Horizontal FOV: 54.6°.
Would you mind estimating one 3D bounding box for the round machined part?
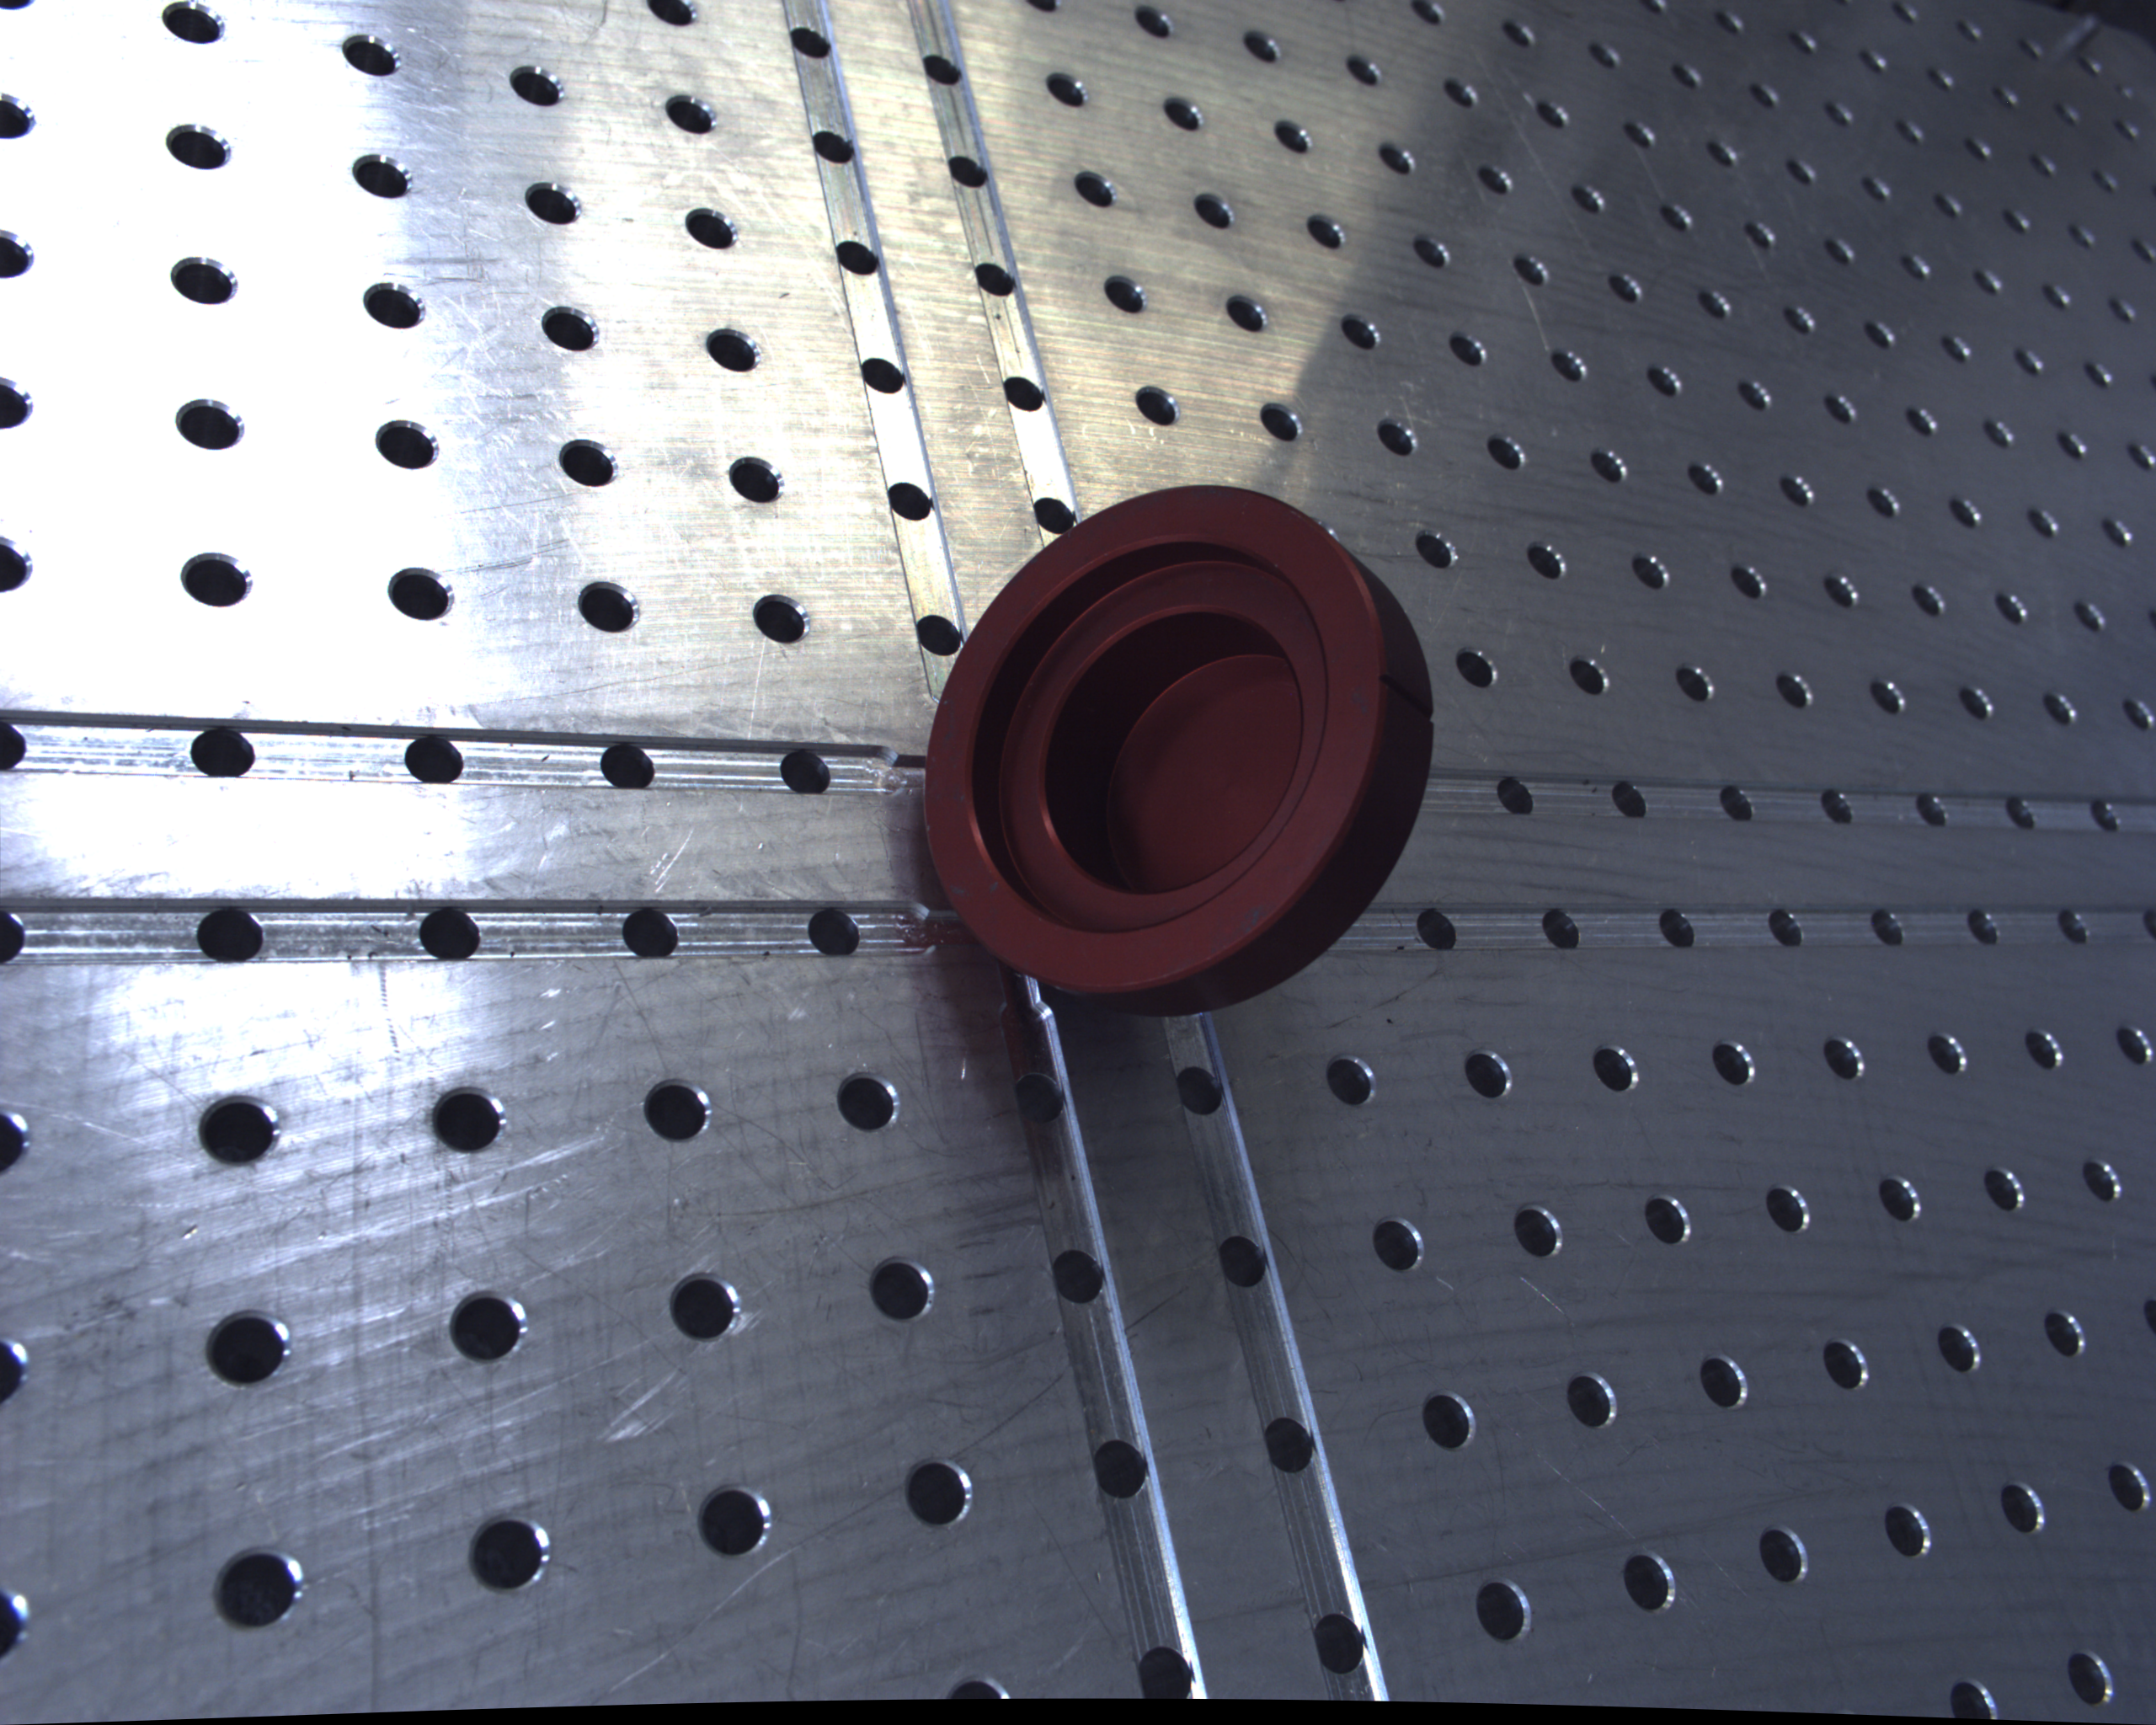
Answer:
[{"bbox_3d":[0.022,-0.018,0.396,0.042,0.098,0.098,28,44,-52],"label":"round machined part"}]
